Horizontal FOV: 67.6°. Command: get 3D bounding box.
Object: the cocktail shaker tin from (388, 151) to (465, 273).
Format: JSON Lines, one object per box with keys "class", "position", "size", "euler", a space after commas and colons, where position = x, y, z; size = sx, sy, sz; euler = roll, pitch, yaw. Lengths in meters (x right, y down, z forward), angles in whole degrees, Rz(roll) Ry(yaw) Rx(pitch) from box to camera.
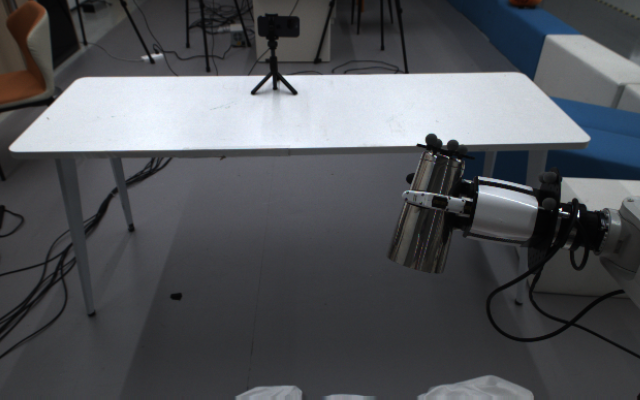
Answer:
{"class": "cocktail shaker tin", "position": [0.169, 0.016, 0.743], "size": [0.093, 0.170, 0.093], "euler": [14, 6, -2]}
